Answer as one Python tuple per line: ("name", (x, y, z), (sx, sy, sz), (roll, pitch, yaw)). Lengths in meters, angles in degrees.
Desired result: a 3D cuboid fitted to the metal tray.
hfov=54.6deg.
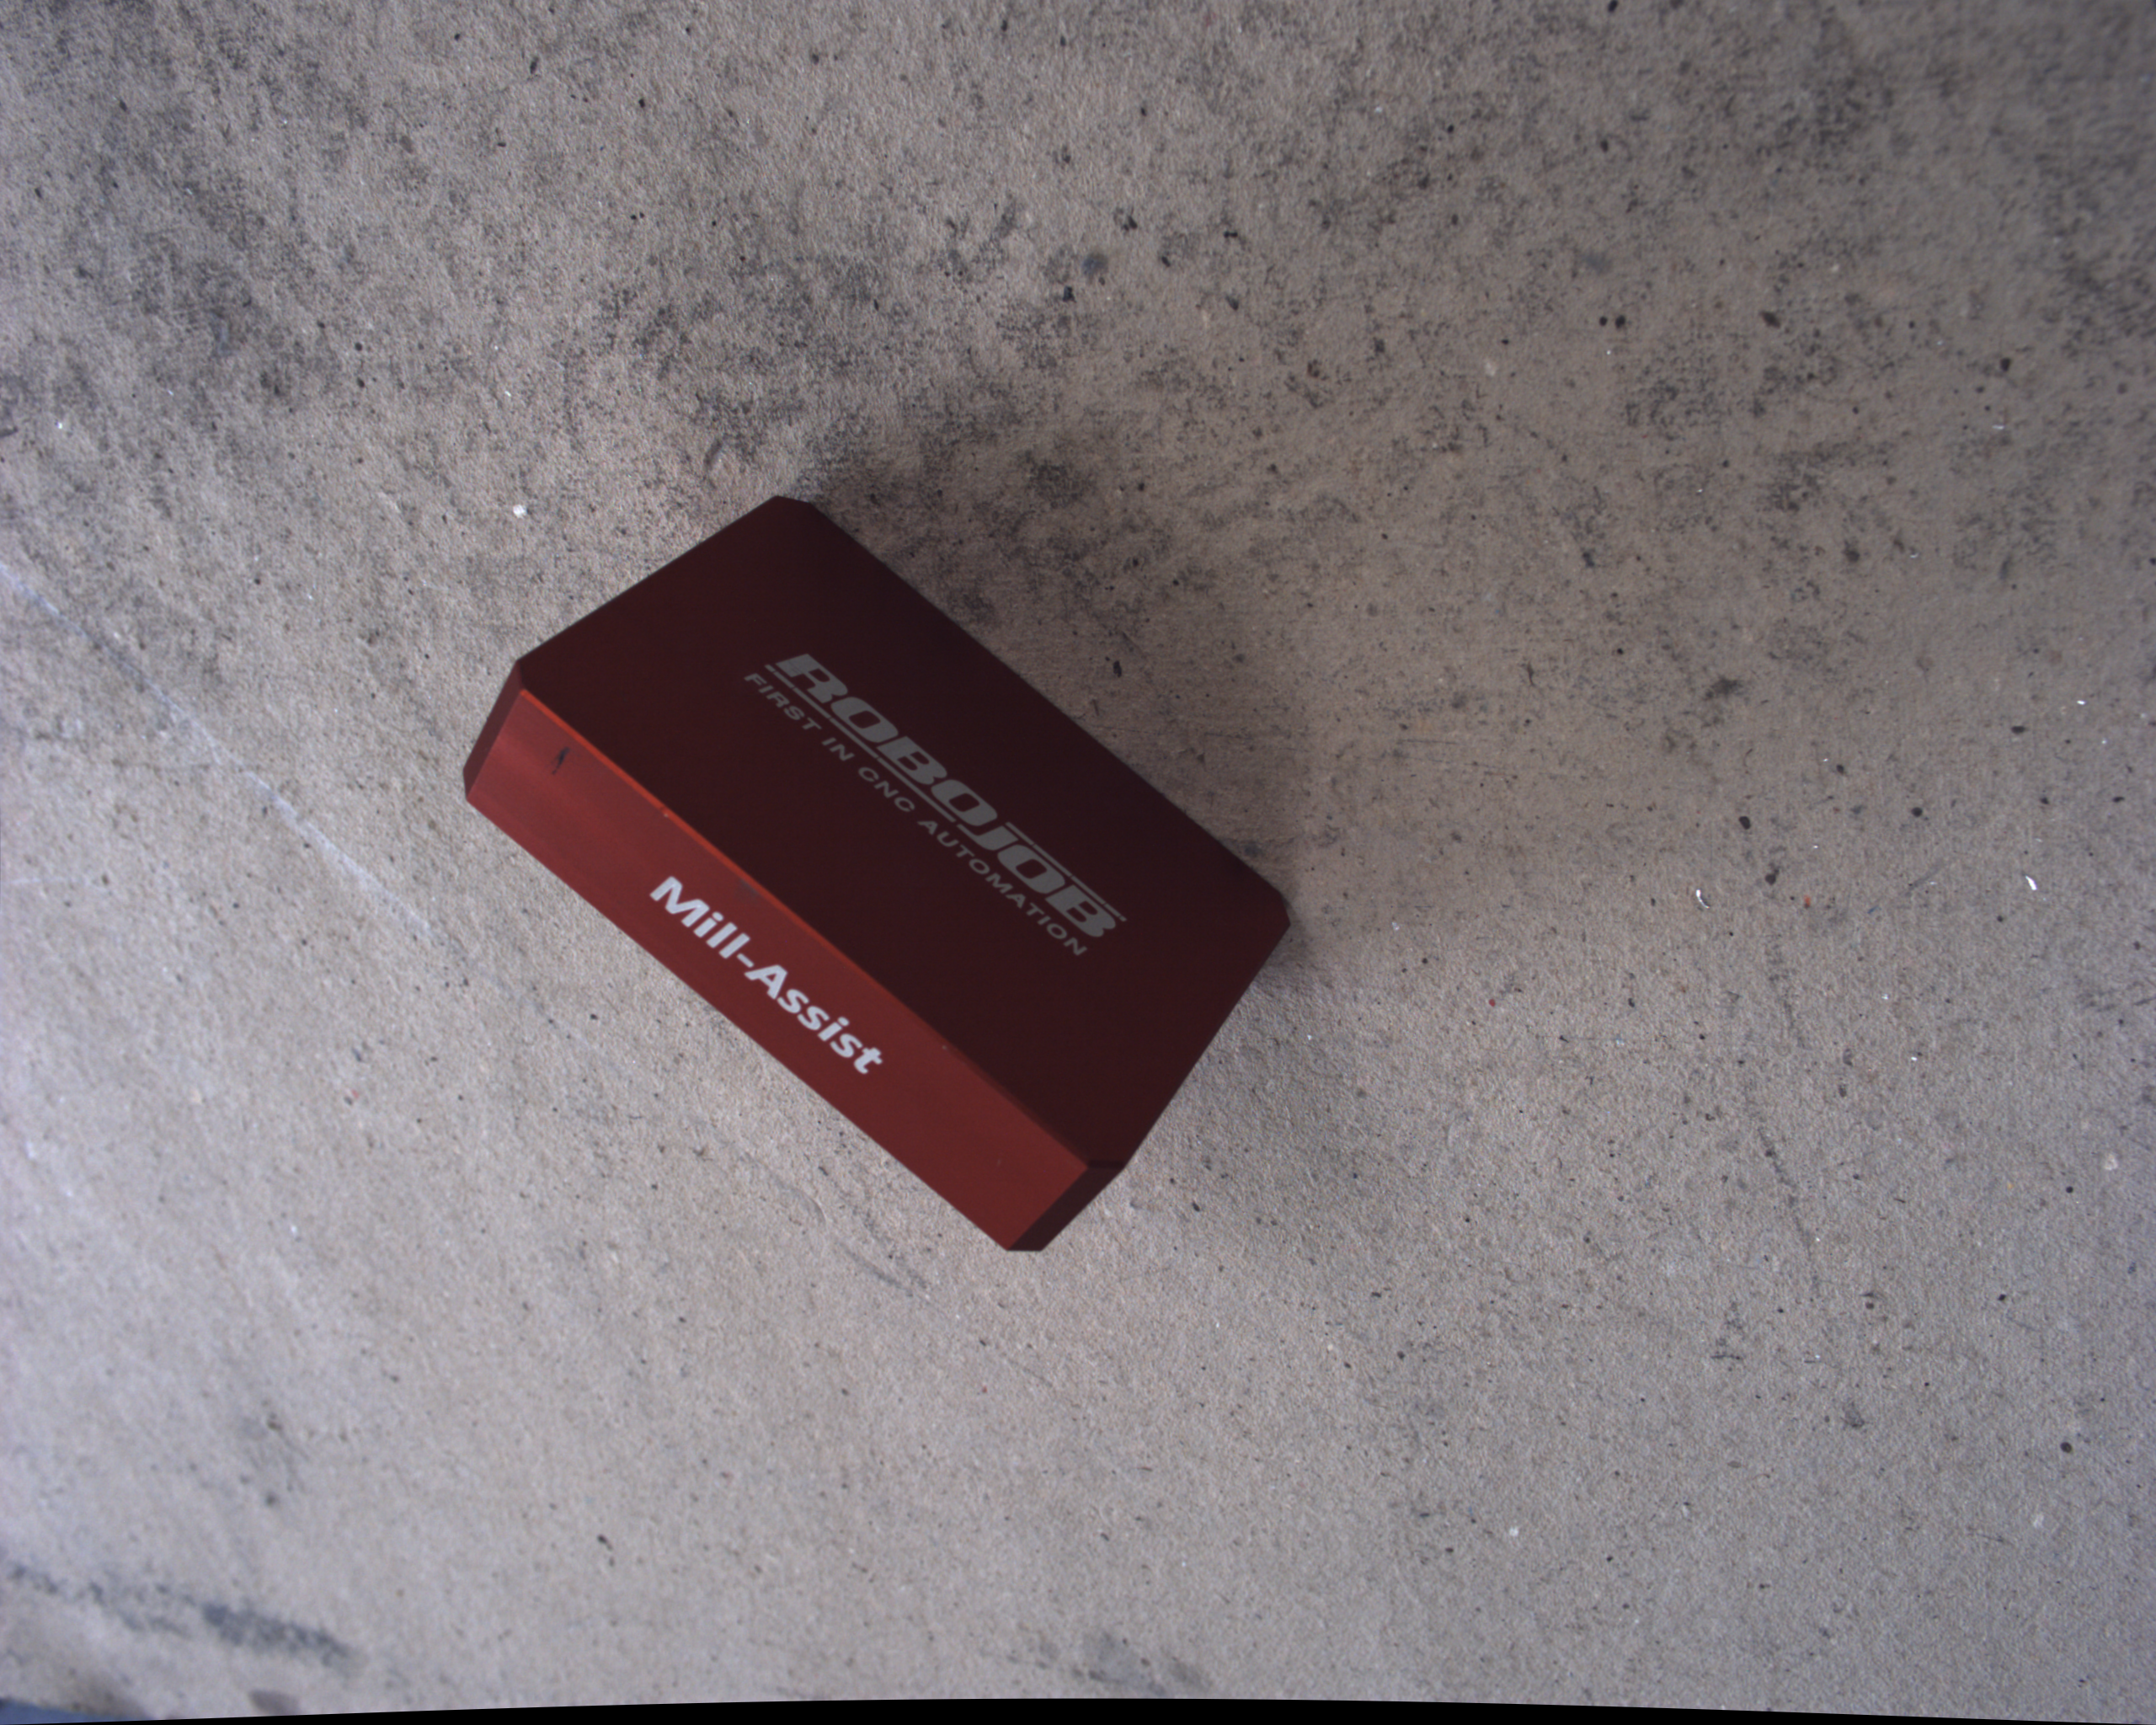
("metal tray", (-0.033, -0.002, 0.382), (0.130, 0.090, 0.030), (39, 129, 1))
